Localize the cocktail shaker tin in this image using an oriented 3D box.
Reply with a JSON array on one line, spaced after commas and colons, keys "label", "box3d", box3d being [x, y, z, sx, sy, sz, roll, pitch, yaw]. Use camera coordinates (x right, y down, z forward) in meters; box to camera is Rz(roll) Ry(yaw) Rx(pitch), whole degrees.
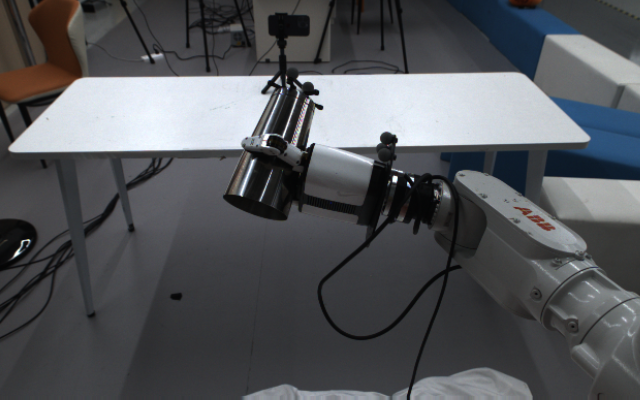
[{"label": "cocktail shaker tin", "box3d": [-0.063, -0.066, 0.676, 0.093, 0.093, 0.170, 14, 74, 16]}]
